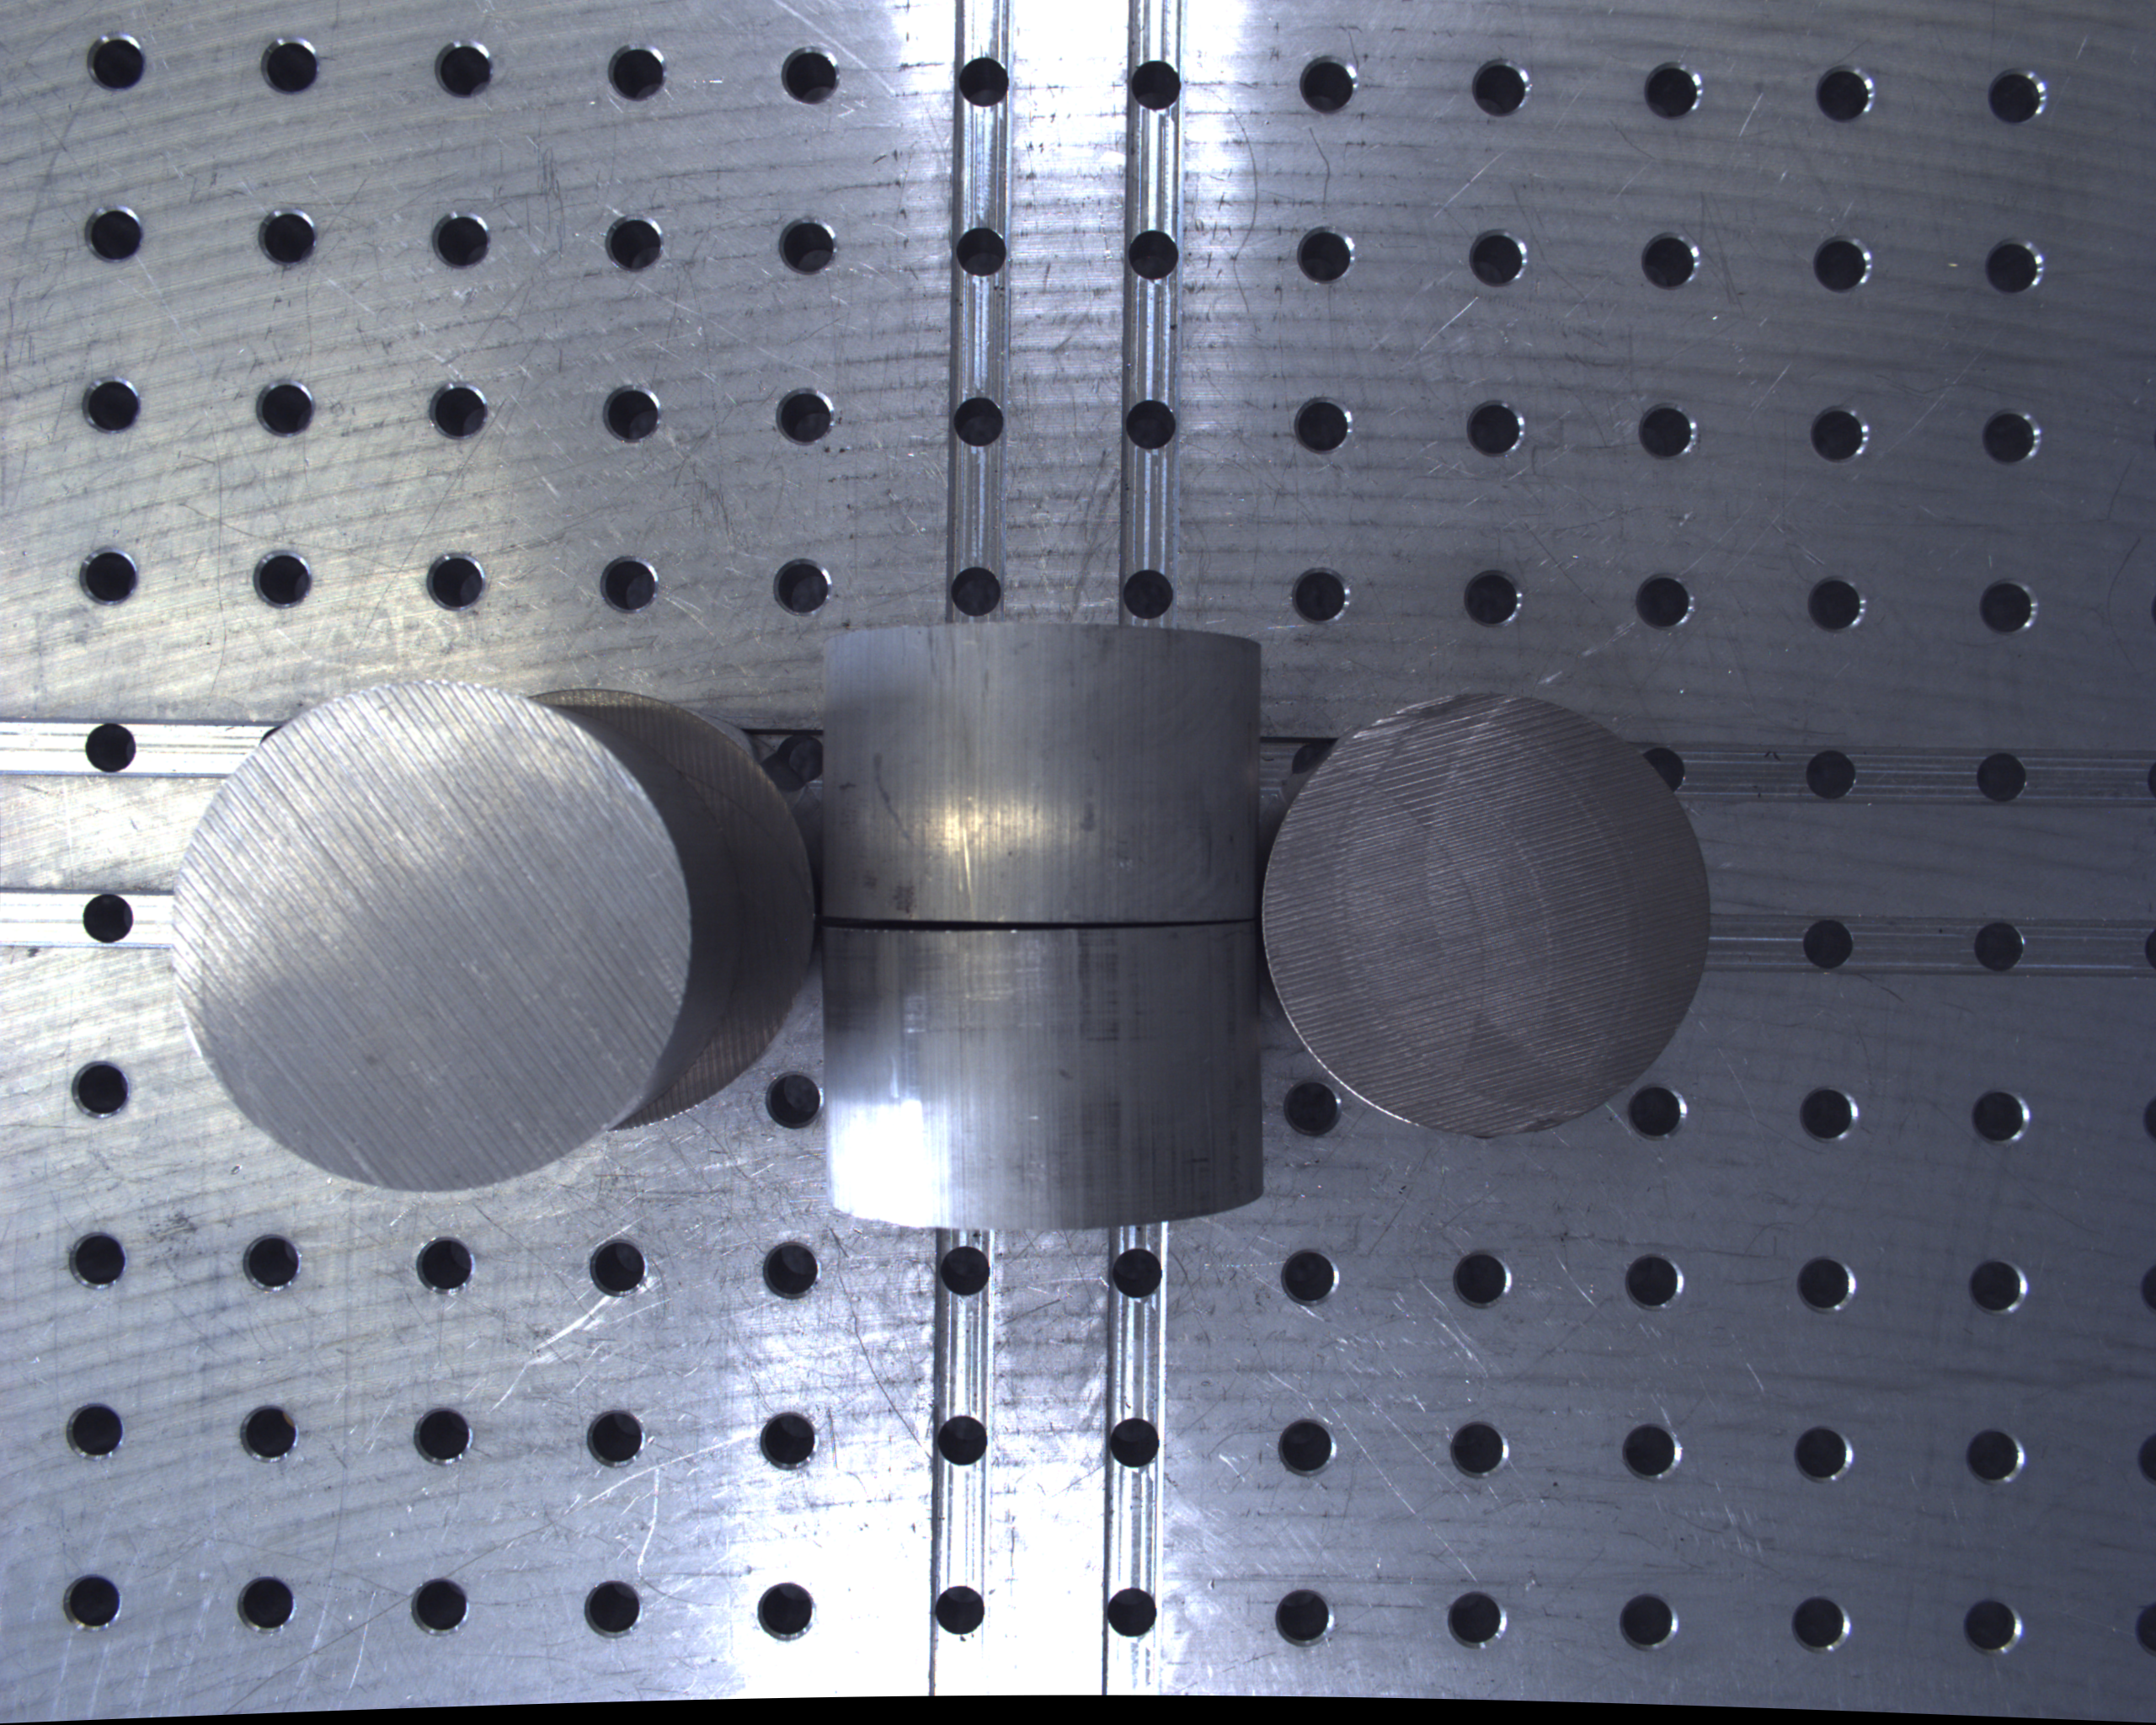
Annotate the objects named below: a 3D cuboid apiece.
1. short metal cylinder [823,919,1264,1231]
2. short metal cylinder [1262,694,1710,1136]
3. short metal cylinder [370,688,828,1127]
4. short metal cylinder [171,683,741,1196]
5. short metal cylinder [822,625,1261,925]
[{"bbox_3d":[-0.006,0.036,0.385,0.081,0.080,0.050,-1,90,0],"label":"short metal cylinder"},{"bbox_3d":[0.074,0.009,0.401,0.081,0.050,0.079,0,90,-1],"label":"short metal cylinder"},{"bbox_3d":[-0.088,0.008,0.400,0.081,0.050,0.079,0,90,-1],"label":"short metal cylinder"},{"bbox_3d":[-0.100,0.012,0.348,0.081,0.050,0.079,0,90,0],"label":"short metal cylinder"},{"bbox_3d":[-0.007,-0.015,0.386,0.081,0.080,0.050,1,91,0],"label":"short metal cylinder"}]
